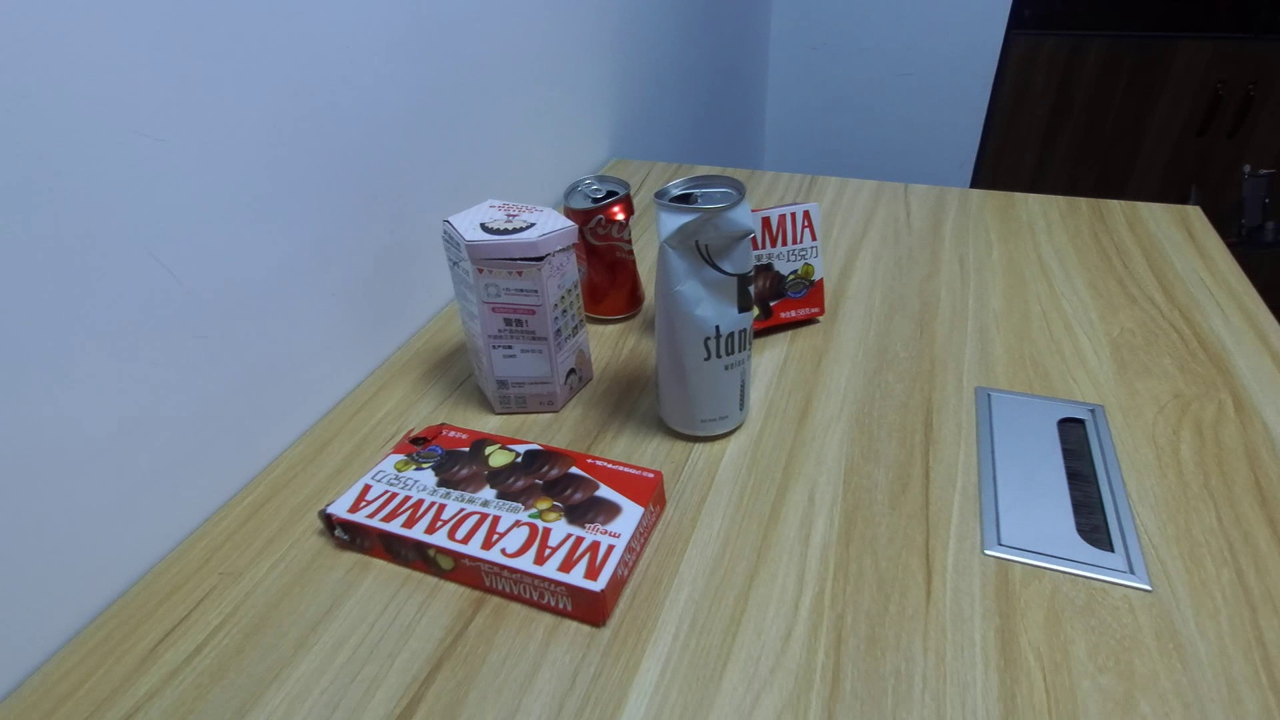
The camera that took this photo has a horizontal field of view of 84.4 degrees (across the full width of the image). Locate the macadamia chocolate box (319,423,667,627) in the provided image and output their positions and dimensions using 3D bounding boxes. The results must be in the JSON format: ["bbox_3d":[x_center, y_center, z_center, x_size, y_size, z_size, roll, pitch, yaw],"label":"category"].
[{"bbox_3d":[-0.087,0.086,0.422,0.186,0.027,0.103,10,35,18],"label":"macadamia chocolate box"}]

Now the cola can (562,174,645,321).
[{"bbox_3d":[-0.031,-0.093,0.596,0.065,0.112,0.069,-5,31,-1],"label":"cola can"}]

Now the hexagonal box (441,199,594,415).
[{"bbox_3d":[-0.083,-0.037,0.501,0.092,0.135,0.085,-1,34,4],"label":"hexagonal box"}]

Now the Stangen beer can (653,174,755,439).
[{"bbox_3d":[0.039,-0.029,0.451,0.066,0.166,0.066,-11,34,-8],"label":"Stangen beer can"}]

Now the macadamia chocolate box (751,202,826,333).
[{"bbox_3d":[0.087,-0.076,0.563,0.127,0.112,0.056,-13,34,-13],"label":"macadamia chocolate box"}]
